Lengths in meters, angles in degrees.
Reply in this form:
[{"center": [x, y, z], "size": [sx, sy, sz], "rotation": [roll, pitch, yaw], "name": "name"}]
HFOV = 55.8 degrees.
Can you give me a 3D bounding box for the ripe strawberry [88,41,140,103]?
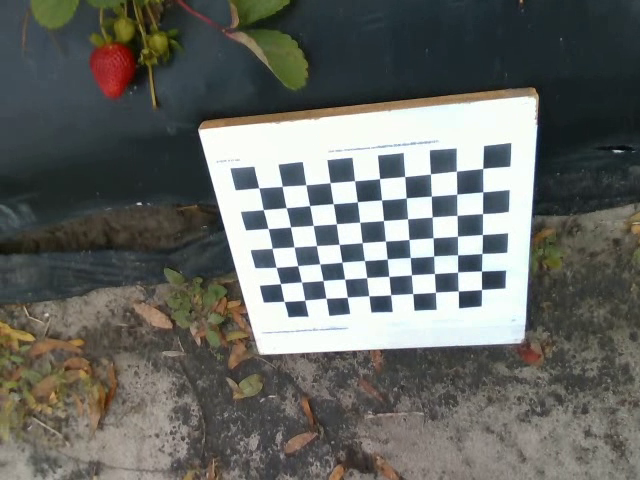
[{"center": [-0.054, -0.043, 0.152], "size": [0.018, 0.017, 0.014], "rotation": [-5, -10, -1], "name": "ripe strawberry"}]
